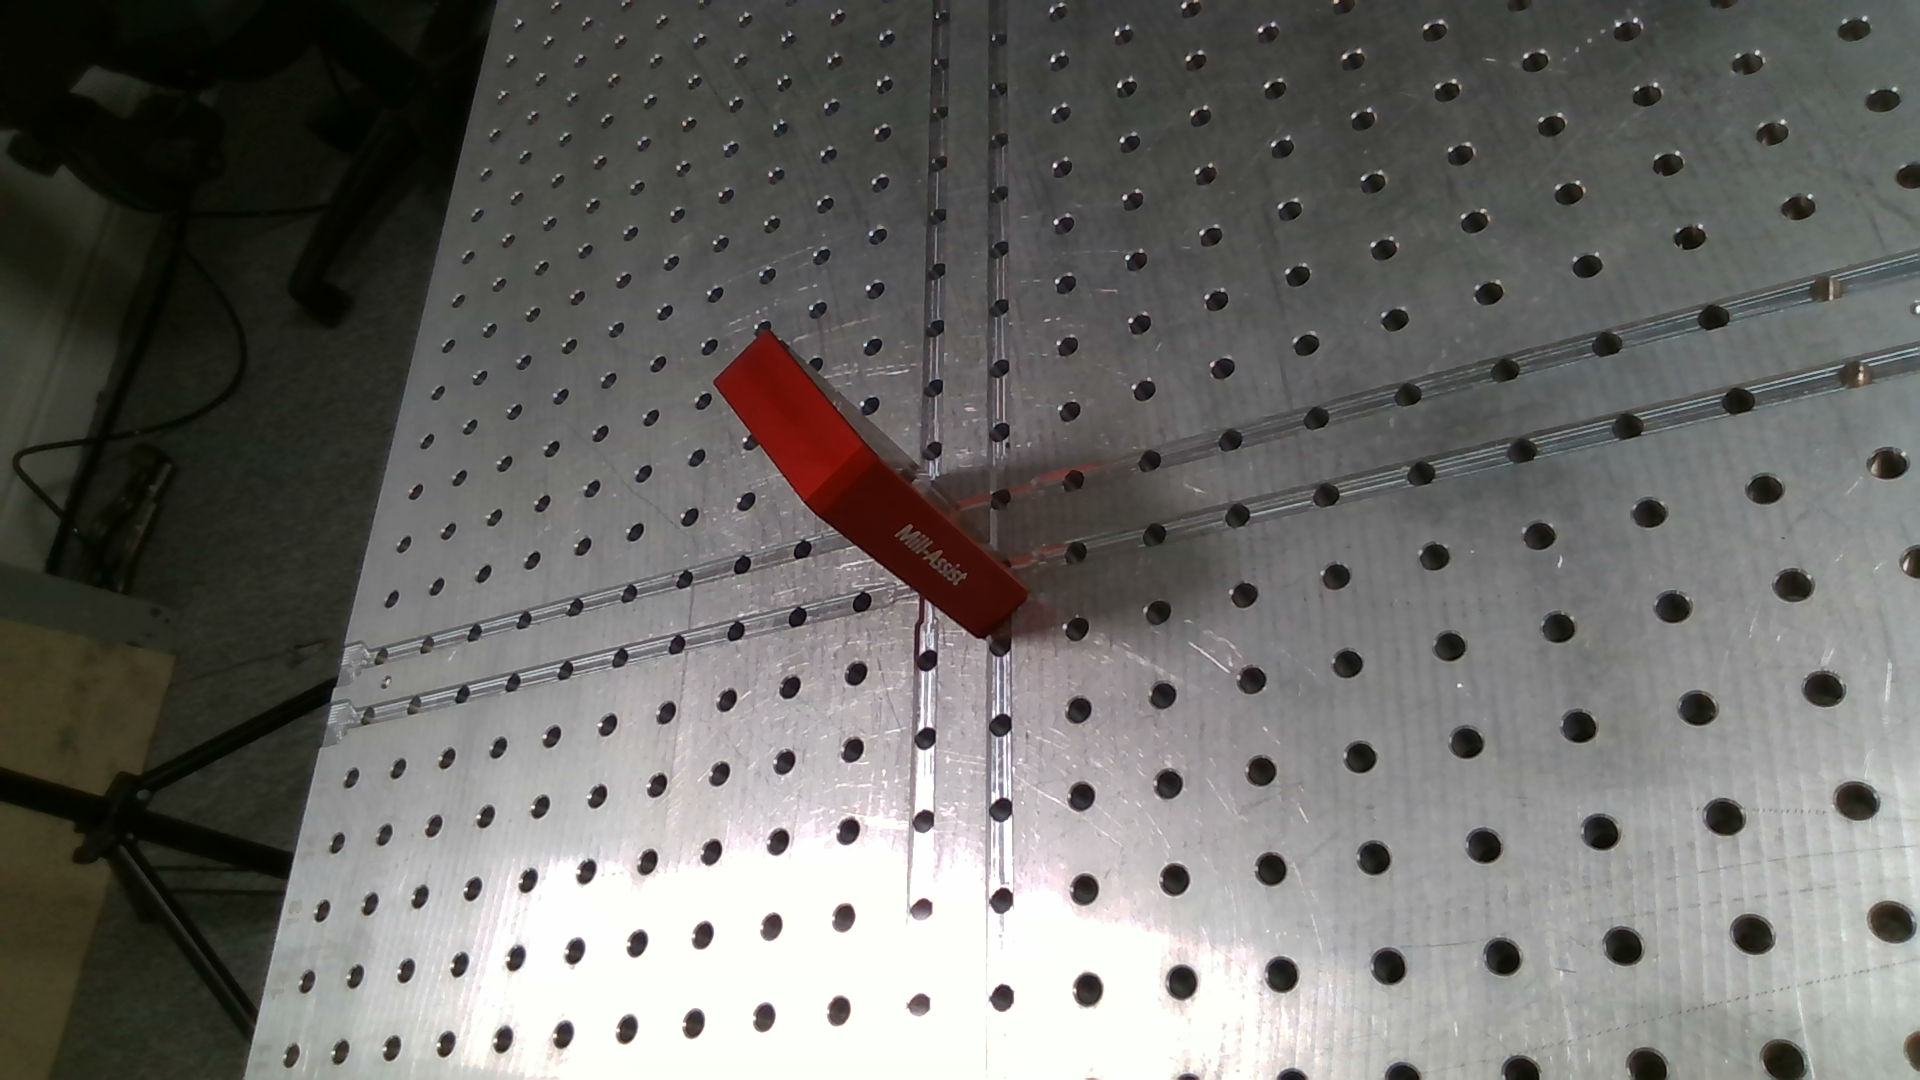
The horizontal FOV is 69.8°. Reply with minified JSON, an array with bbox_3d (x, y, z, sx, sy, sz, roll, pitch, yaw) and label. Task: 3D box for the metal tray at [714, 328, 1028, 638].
[{"bbox_3d":[-0.033,-0.021,0.552,0.030,0.130,0.090,-44,51,4],"label":"metal tray"}]
